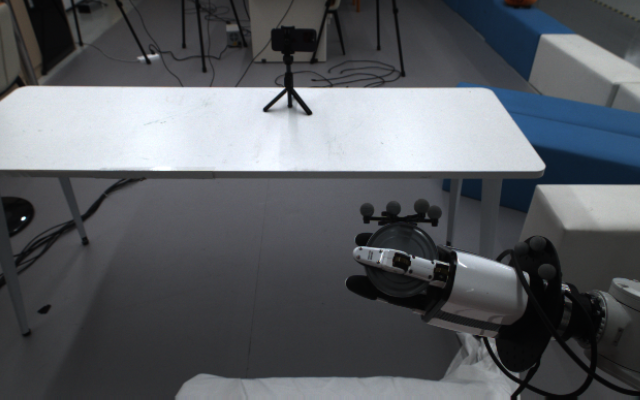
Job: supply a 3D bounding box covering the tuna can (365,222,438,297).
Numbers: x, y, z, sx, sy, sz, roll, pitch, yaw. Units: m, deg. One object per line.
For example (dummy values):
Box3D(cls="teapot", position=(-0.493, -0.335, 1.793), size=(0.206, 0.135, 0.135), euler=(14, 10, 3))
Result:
Box3D(cls="tuna can", position=(0.095, 0.069, 0.567), size=(0.085, 0.034, 0.085), euler=(-1, 75, 4))
